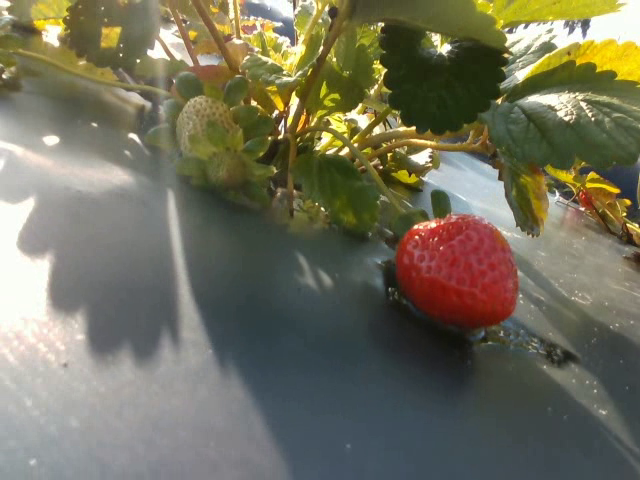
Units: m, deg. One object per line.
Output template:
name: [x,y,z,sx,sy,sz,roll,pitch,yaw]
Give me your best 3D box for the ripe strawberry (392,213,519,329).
ripe strawberry: [0.035,0.009,0.138,0.030,0.033,0.044,-22,21,1]
